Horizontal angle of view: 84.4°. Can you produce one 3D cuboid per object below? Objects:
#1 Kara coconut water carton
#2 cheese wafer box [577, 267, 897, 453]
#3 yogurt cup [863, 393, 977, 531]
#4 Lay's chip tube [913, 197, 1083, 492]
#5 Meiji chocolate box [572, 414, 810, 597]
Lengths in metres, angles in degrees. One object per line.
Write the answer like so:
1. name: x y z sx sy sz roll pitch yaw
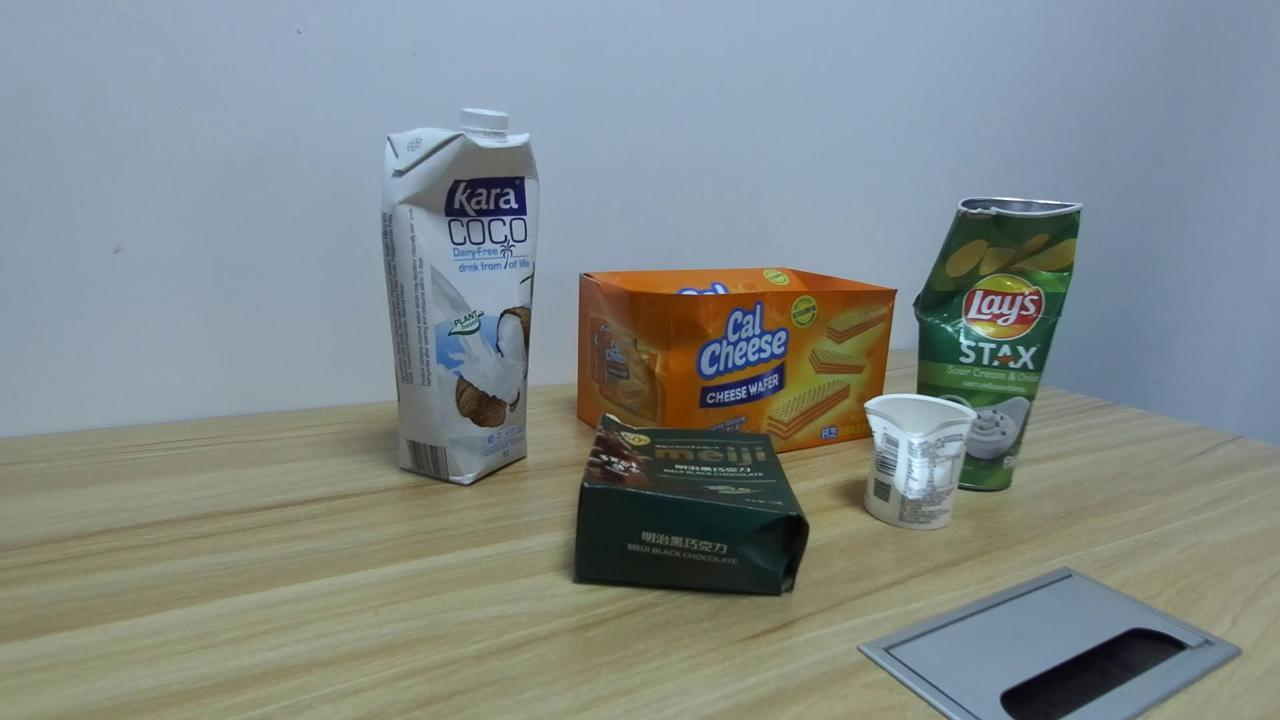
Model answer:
1. Kara coconut water carton: -0.118 -0.042 0.472 0.069 0.238 0.115 11 16 27
2. cheese wafer box: 0.075 -0.002 0.586 0.231 0.132 0.151 -4 16 -30
3. yogurt cup: 0.174 0.064 0.449 0.067 0.070 0.067 2 13 0
4. Lay's chip tube: 0.245 -0.011 0.503 0.077 0.201 0.069 -7 16 -28
5. Meiji chocolate box: 0.026 0.078 0.394 0.116 0.058 0.122 6 14 2
